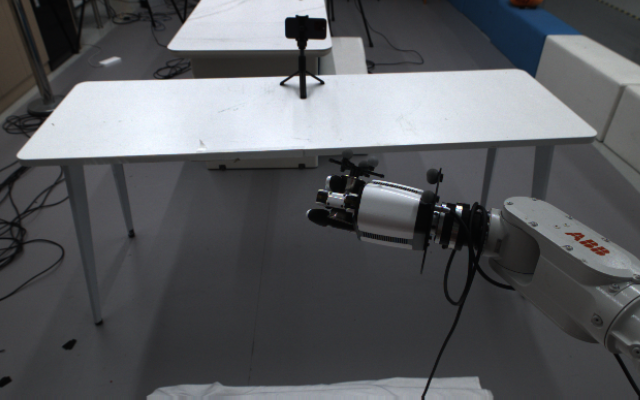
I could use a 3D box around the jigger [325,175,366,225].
[{"bbox_3d":[0.041,-0.002,0.739,0.043,0.071,0.043,18,-6,2],"label":"jigger"}]
